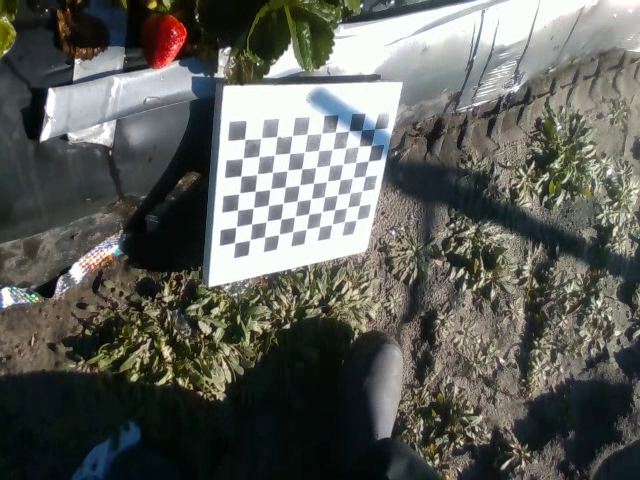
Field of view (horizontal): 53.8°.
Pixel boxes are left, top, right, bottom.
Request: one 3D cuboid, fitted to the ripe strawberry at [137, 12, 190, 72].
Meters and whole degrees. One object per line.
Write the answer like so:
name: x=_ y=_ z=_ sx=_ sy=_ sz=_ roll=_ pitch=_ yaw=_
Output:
ripe strawberry: x=-0.172 y=-0.212 z=0.700 sx=0.058 sy=0.065 sz=0.062 roll=-17 pitch=-28 yaw=30
